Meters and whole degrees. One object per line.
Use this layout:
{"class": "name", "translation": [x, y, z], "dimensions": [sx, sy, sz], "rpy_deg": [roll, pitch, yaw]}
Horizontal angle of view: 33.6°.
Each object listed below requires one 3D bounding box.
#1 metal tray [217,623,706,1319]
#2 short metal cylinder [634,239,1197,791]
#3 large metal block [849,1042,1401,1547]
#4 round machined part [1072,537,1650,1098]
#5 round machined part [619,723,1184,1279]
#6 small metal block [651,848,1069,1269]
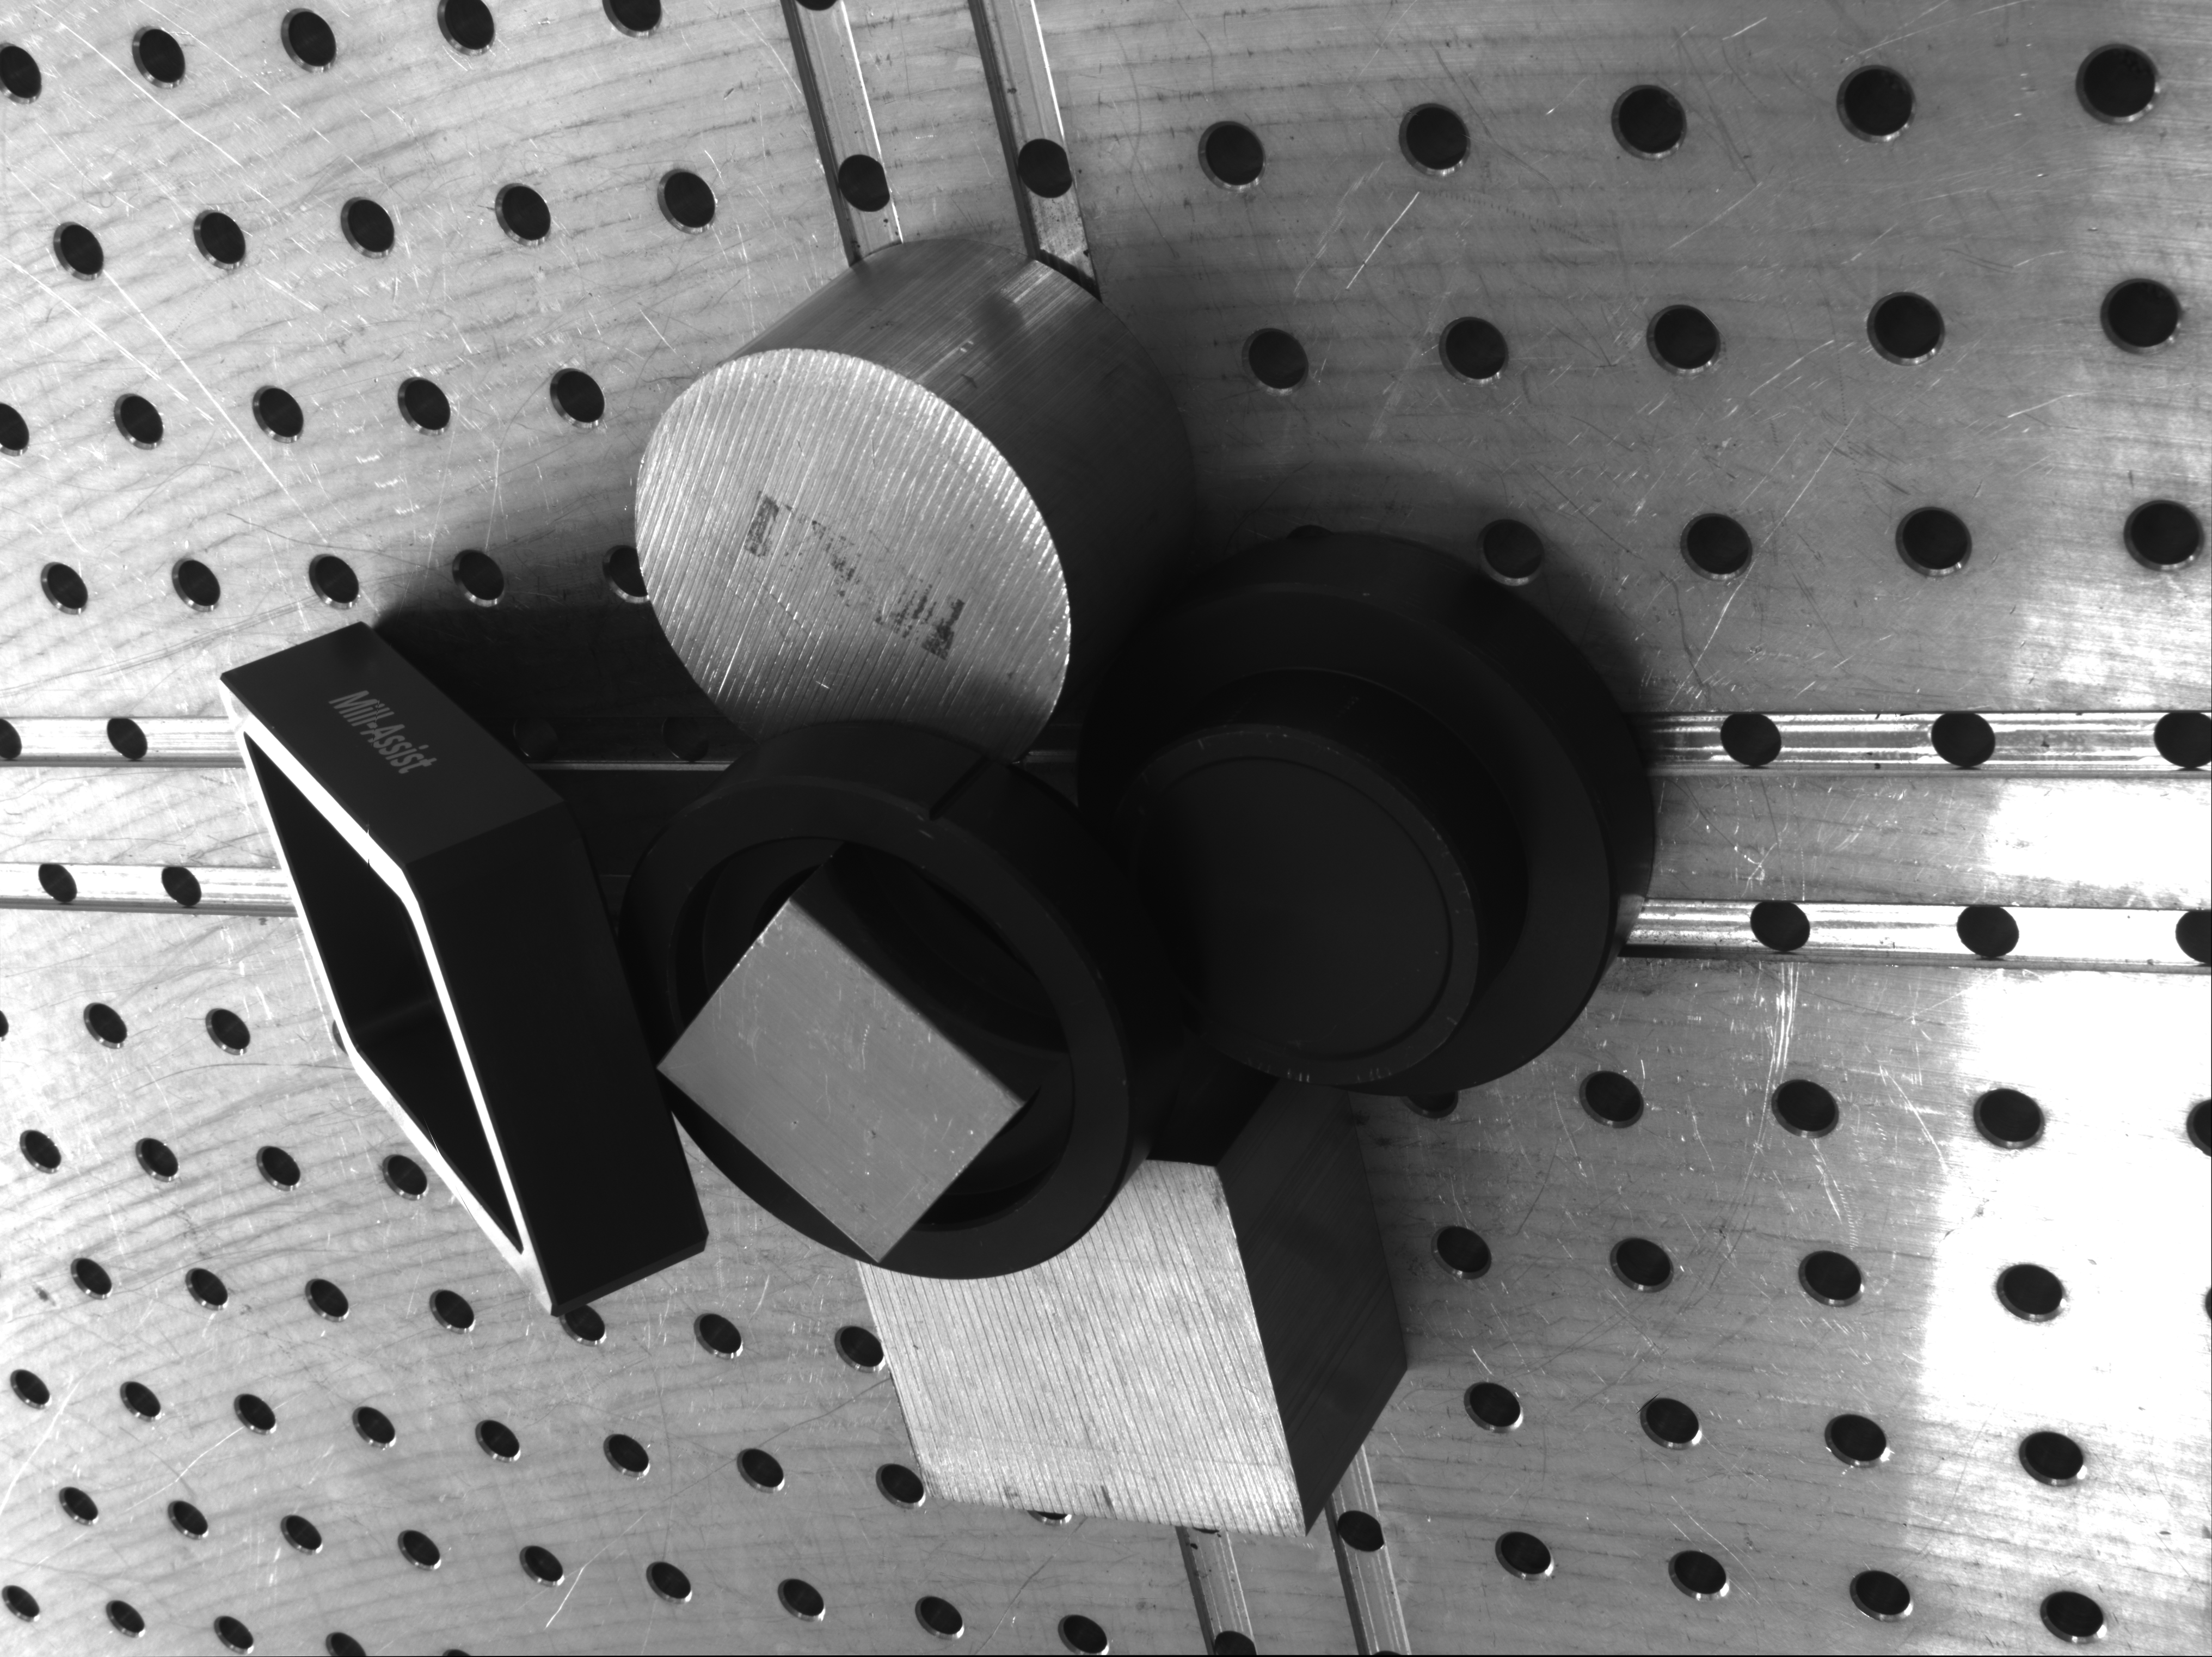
{"class": "metal tray", "translation": [-0.120, 0.023, 0.674], "dimensions": [0.130, 0.030, 0.090], "rpy_deg": [33, 142, 57]}
{"class": "short metal cylinder", "translation": [-0.031, -0.052, 0.614], "dimensions": [0.080, 0.050, 0.080], "rpy_deg": [13, 124, 21]}
{"class": "large metal block", "translation": [0.001, 0.080, 0.674], "dimensions": [0.080, 0.050, 0.080], "rpy_deg": [1, 119, 28]}
{"class": "round machined part", "translation": [0.038, 0.004, 0.615], "dimensions": [0.098, 0.042, 0.098], "rpy_deg": [13, 124, 21]}
{"class": "round machined part", "translation": [-0.031, 0.025, 0.629], "dimensions": [0.098, 0.042, 0.098], "rpy_deg": [13, 124, 21]}
{"class": "small metal block", "translation": [-0.040, 0.037, 0.609], "dimensions": [0.050, 0.025, 0.050], "rpy_deg": [41, 129, 0]}
